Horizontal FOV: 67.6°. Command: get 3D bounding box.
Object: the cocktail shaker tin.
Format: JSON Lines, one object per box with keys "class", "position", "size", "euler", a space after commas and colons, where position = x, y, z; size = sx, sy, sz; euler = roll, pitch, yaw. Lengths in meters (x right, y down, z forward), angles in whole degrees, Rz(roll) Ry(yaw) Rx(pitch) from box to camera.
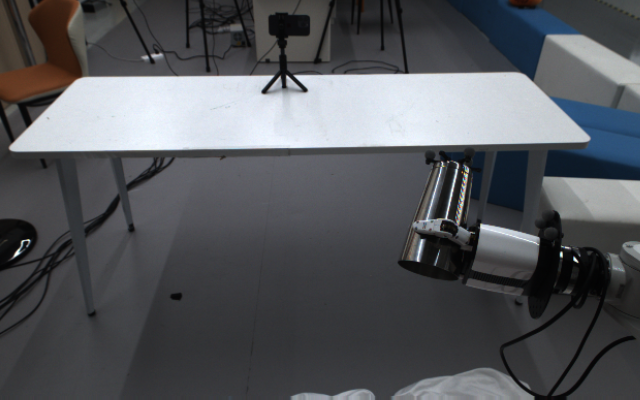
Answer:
{"class": "cocktail shaker tin", "position": [0.185, 0.029, 0.749], "size": [0.093, 0.093, 0.170], "euler": [14, 73, 16]}
